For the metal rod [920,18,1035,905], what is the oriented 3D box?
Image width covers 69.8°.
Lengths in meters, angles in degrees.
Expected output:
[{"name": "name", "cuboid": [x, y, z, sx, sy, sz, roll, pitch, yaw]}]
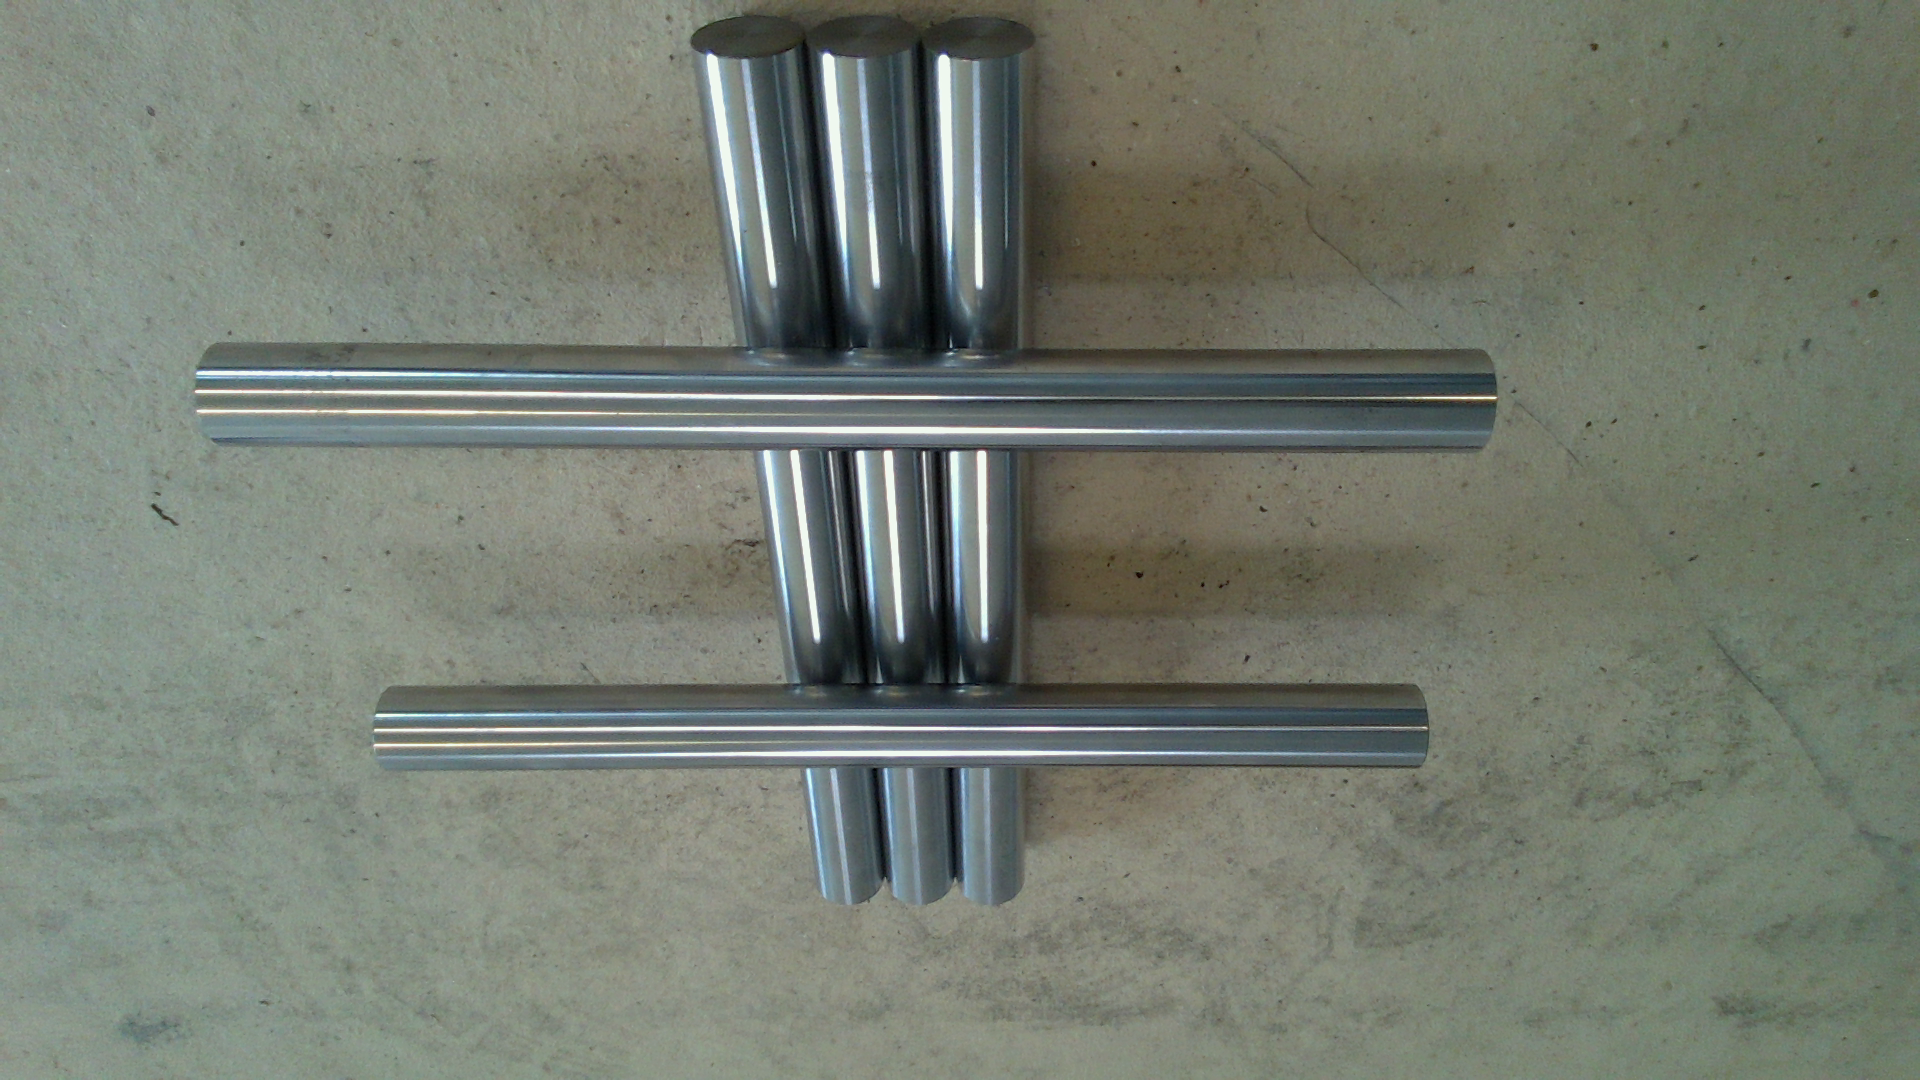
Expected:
[{"name": "metal rod", "cuboid": [0.007, 0.006, 0.395, 0.025, 0.025, 0.300, -1, 130, 1]}]

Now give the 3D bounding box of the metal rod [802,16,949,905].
[{"name": "metal rod", "cuboid": [-0.018, 0.005, 0.395, 0.025, 0.025, 0.300, -1, 130, 1]}]

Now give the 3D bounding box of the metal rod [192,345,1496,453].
[{"name": "metal rod", "cuboid": [-0.026, -0.034, 0.329, 0.300, 0.025, 0.025, 0, 130, -1]}]

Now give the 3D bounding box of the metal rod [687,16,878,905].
[{"name": "metal rod", "cuboid": [-0.043, 0.005, 0.395, 0.025, 0.025, 0.300, -1, 130, 1]}]

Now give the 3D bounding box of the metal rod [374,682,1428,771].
[{"name": "metal rod", "cuboid": [-0.016, 0.055, 0.404, 0.300, 0.025, 0.025, 0, 130, 0]}]
